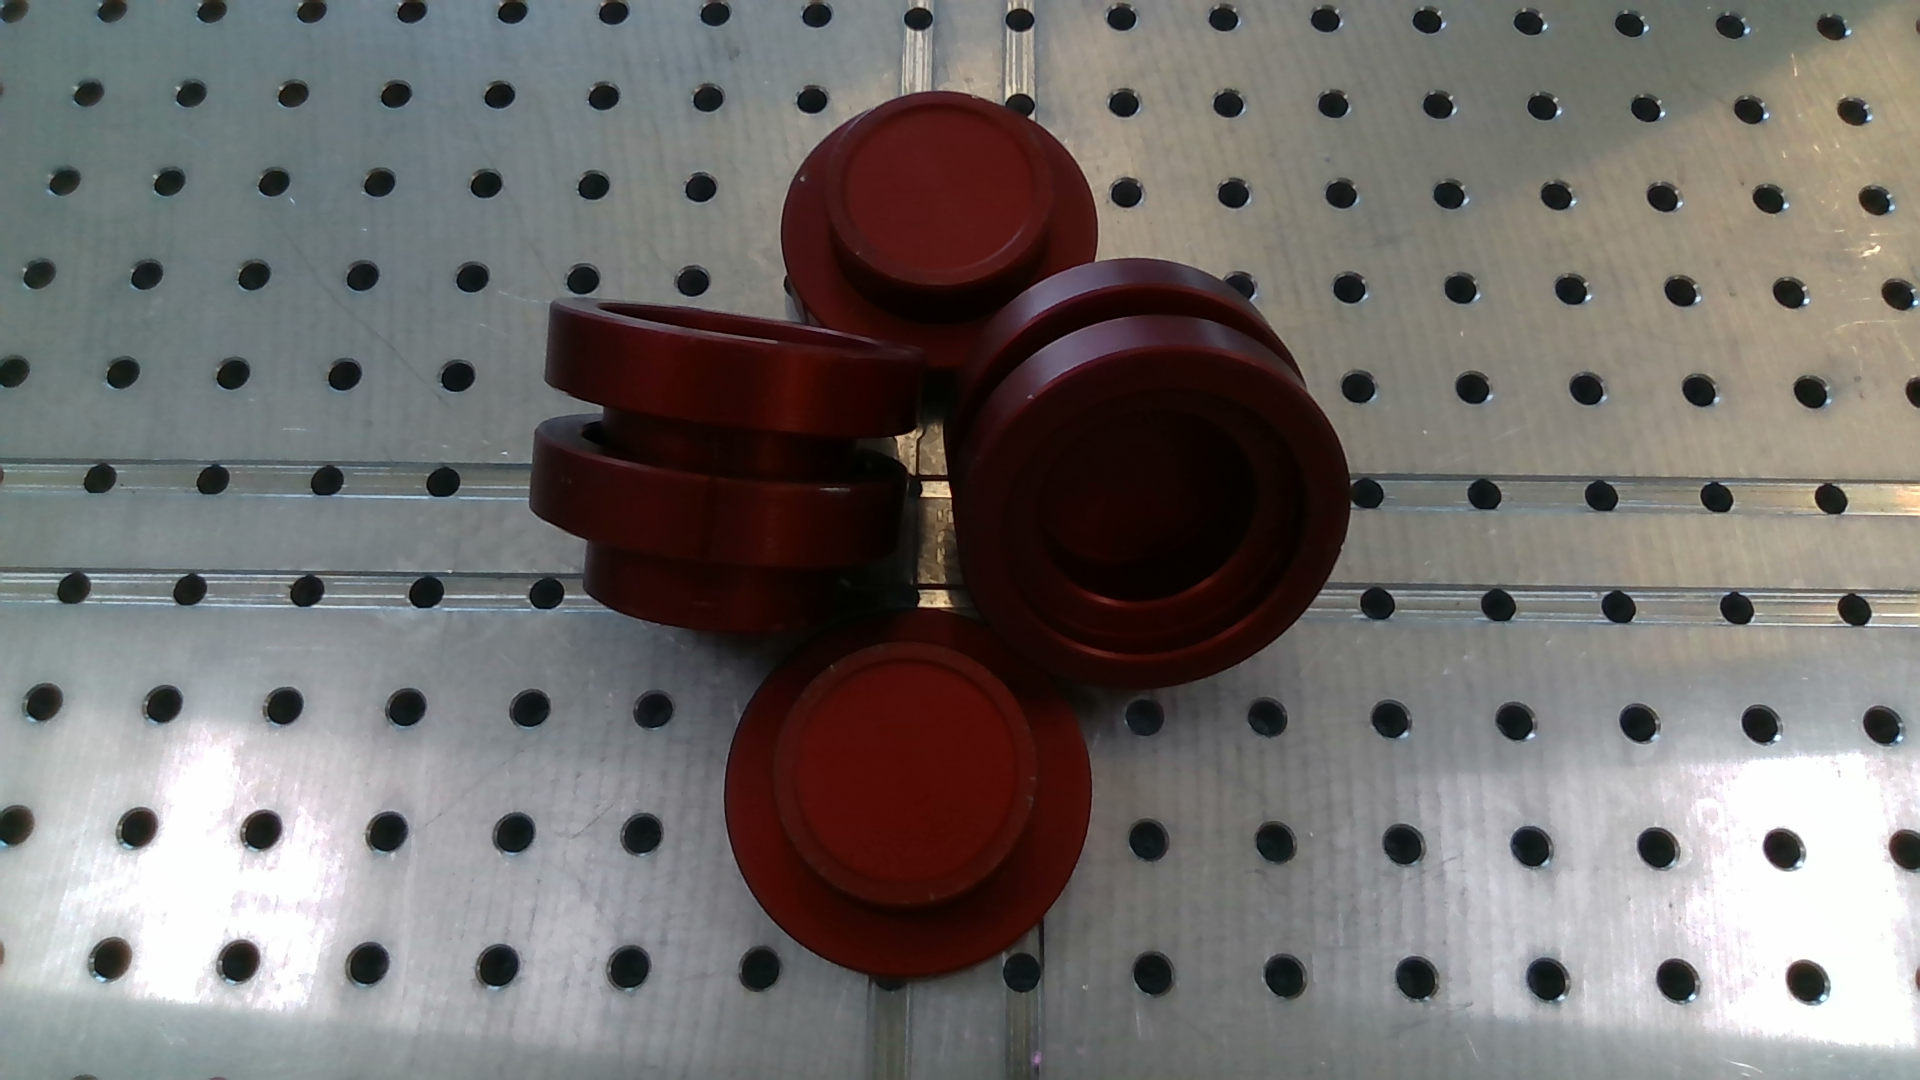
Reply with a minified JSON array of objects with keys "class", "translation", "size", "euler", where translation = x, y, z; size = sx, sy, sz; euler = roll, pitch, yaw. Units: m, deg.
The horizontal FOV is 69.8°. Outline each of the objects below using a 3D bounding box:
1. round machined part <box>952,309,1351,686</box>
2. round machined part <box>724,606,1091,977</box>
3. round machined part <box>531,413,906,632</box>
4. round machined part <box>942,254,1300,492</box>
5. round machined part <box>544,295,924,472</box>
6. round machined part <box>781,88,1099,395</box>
[{"class":"round machined part","translation":[0.047,-0.014,0.357],"size":[0.098,0.098,0.042],"euler":[-5,31,-2]},{"class":"round machined part","translation":[-0.014,0.064,0.366],"size":[0.098,0.042,0.098],"euler":[0,70,0]},{"class":"round machined part","translation":[-0.065,-0.005,0.371],"size":[0.098,0.098,0.042],"euler":[10,102,3]},{"class":"round machined part","translation":[0.044,-0.032,0.383],"size":[0.098,0.098,0.042],"euler":[-5,31,-2]},{"class":"round machined part","translation":[-0.060,-0.037,0.368],"size":[0.098,0.098,0.042],"euler":[9,102,3]},{"class":"round machined part","translation":[-0.006,-0.098,0.423],"size":[0.098,0.042,0.098],"euler":[0,70,0]}]
